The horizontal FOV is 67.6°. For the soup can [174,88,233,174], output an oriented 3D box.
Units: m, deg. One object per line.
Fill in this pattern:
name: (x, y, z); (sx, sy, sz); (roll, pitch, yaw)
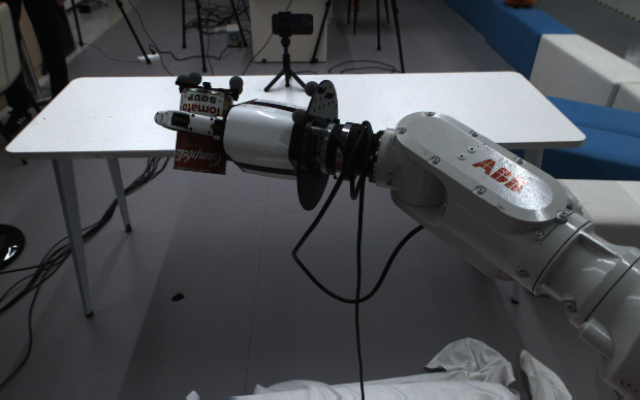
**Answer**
soup can: (-0.149, -0.086, 0.623); (0.067, 0.101, 0.067); (7, 3, 0)
